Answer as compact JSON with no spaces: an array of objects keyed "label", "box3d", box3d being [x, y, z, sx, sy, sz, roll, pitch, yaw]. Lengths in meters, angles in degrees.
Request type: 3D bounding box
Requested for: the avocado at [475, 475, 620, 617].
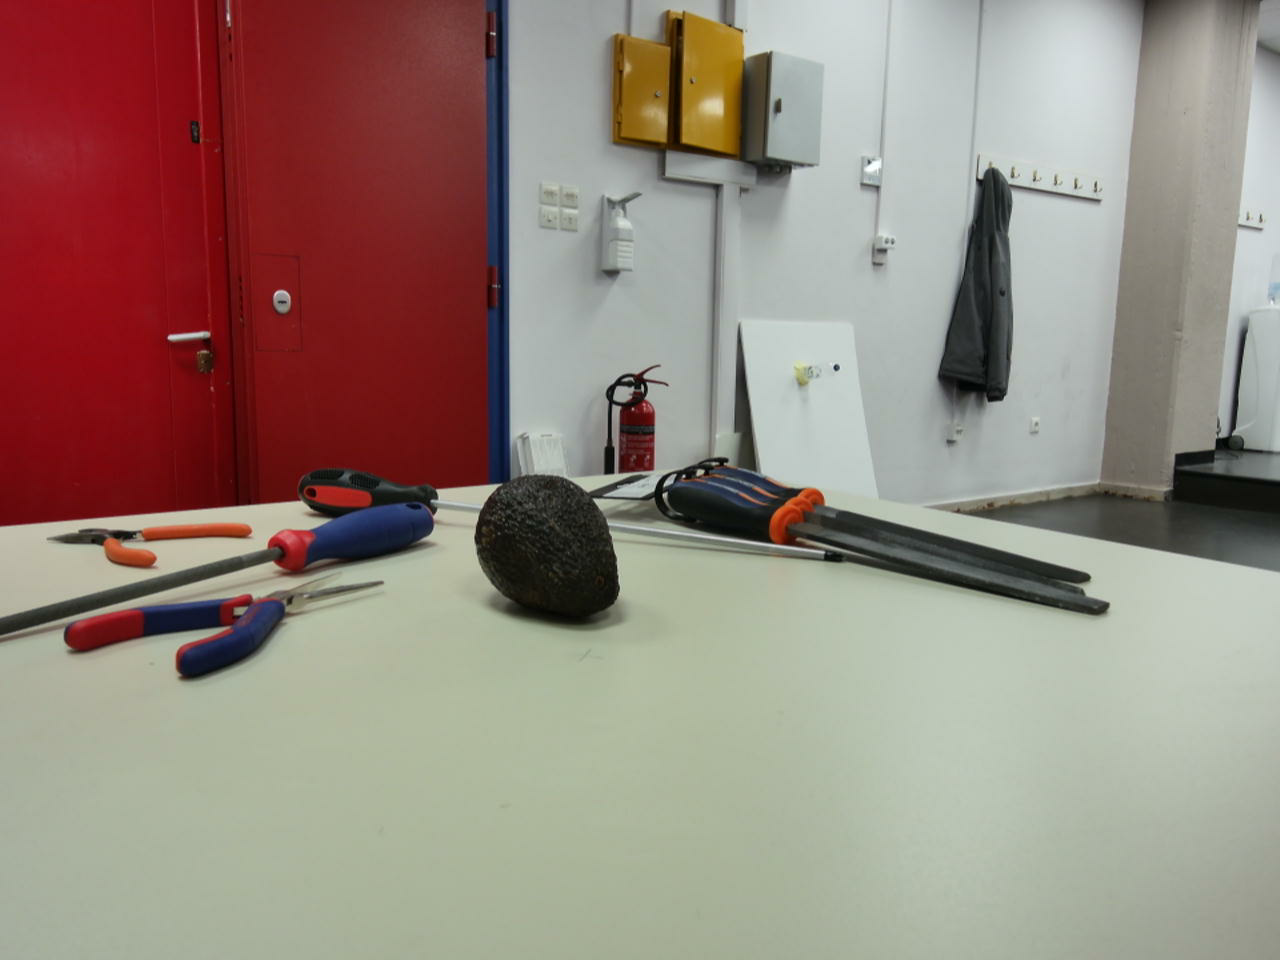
[{"label":"avocado","box3d":[-0.049,0.032,0.518,0.070,0.069,0.090,-1,6,-12]}]
